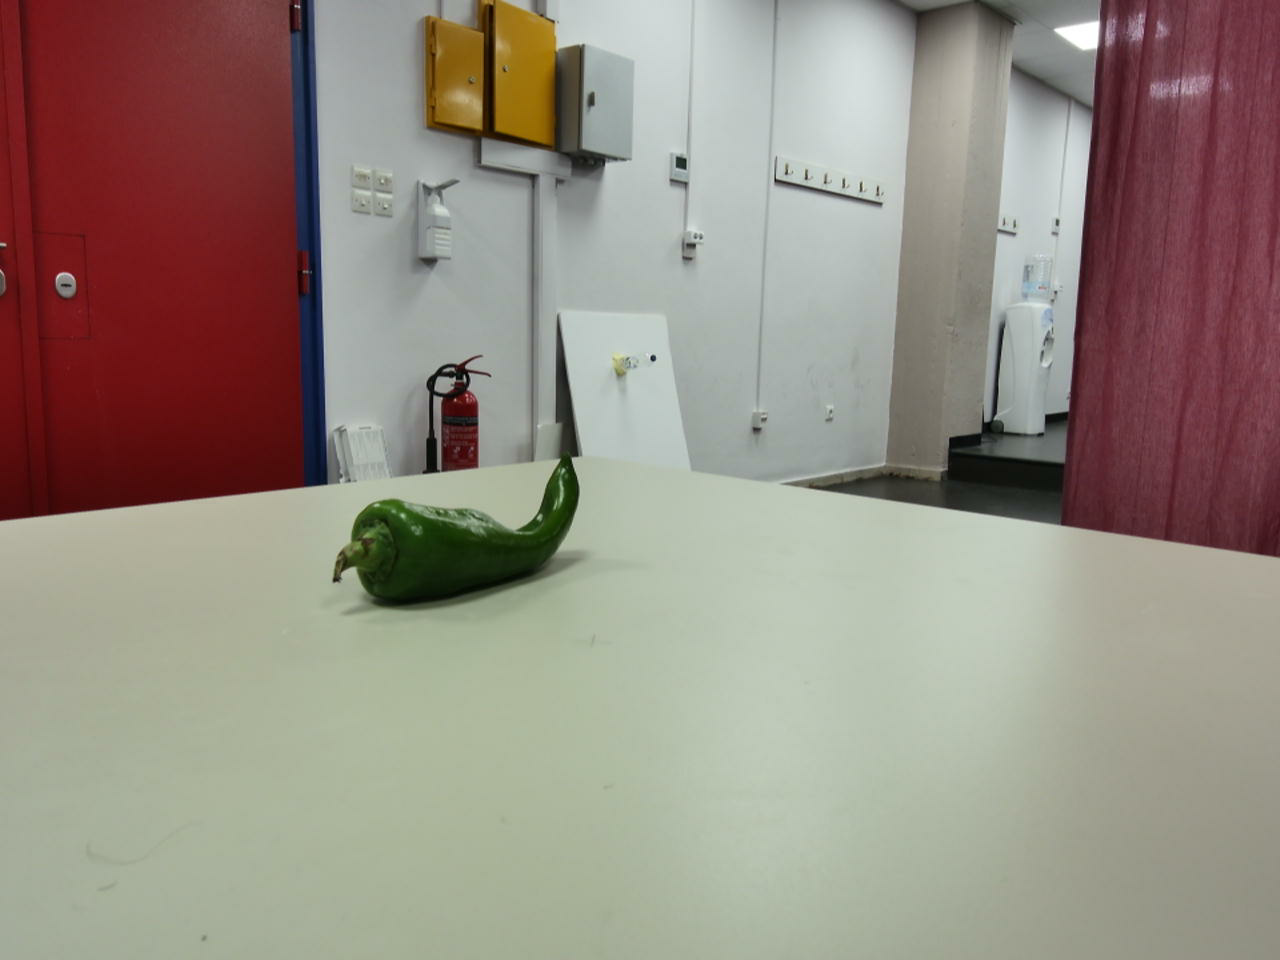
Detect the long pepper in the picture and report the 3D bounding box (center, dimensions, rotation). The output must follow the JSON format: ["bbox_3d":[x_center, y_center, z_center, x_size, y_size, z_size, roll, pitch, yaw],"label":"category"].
[{"bbox_3d":[-0.089,0.025,0.539,0.058,0.065,0.175,6,9,39],"label":"long pepper"}]
